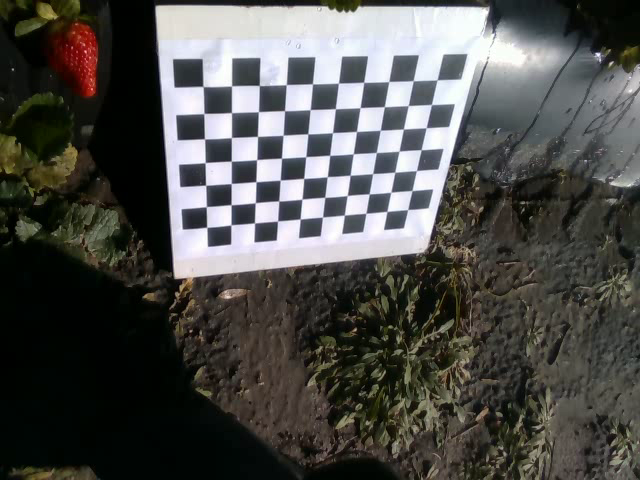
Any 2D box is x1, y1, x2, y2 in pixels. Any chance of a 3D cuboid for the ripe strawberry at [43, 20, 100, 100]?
[{"bbox_3d":[-0.190,-0.139,0.495,0.048,0.069,0.040,-19,33,-3],"label":"ripe strawberry"}]
